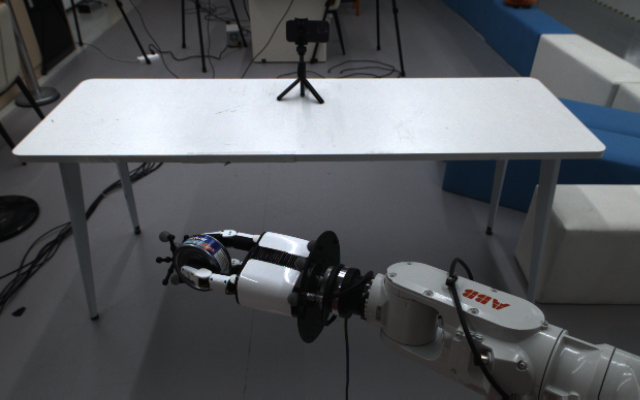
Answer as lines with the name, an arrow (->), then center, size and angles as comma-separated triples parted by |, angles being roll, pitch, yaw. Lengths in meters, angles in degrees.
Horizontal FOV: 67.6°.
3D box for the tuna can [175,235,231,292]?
tuna can -> -0.178, 0.099, 0.737 | 0.085, 0.085, 0.034 | 12, 29, 14
